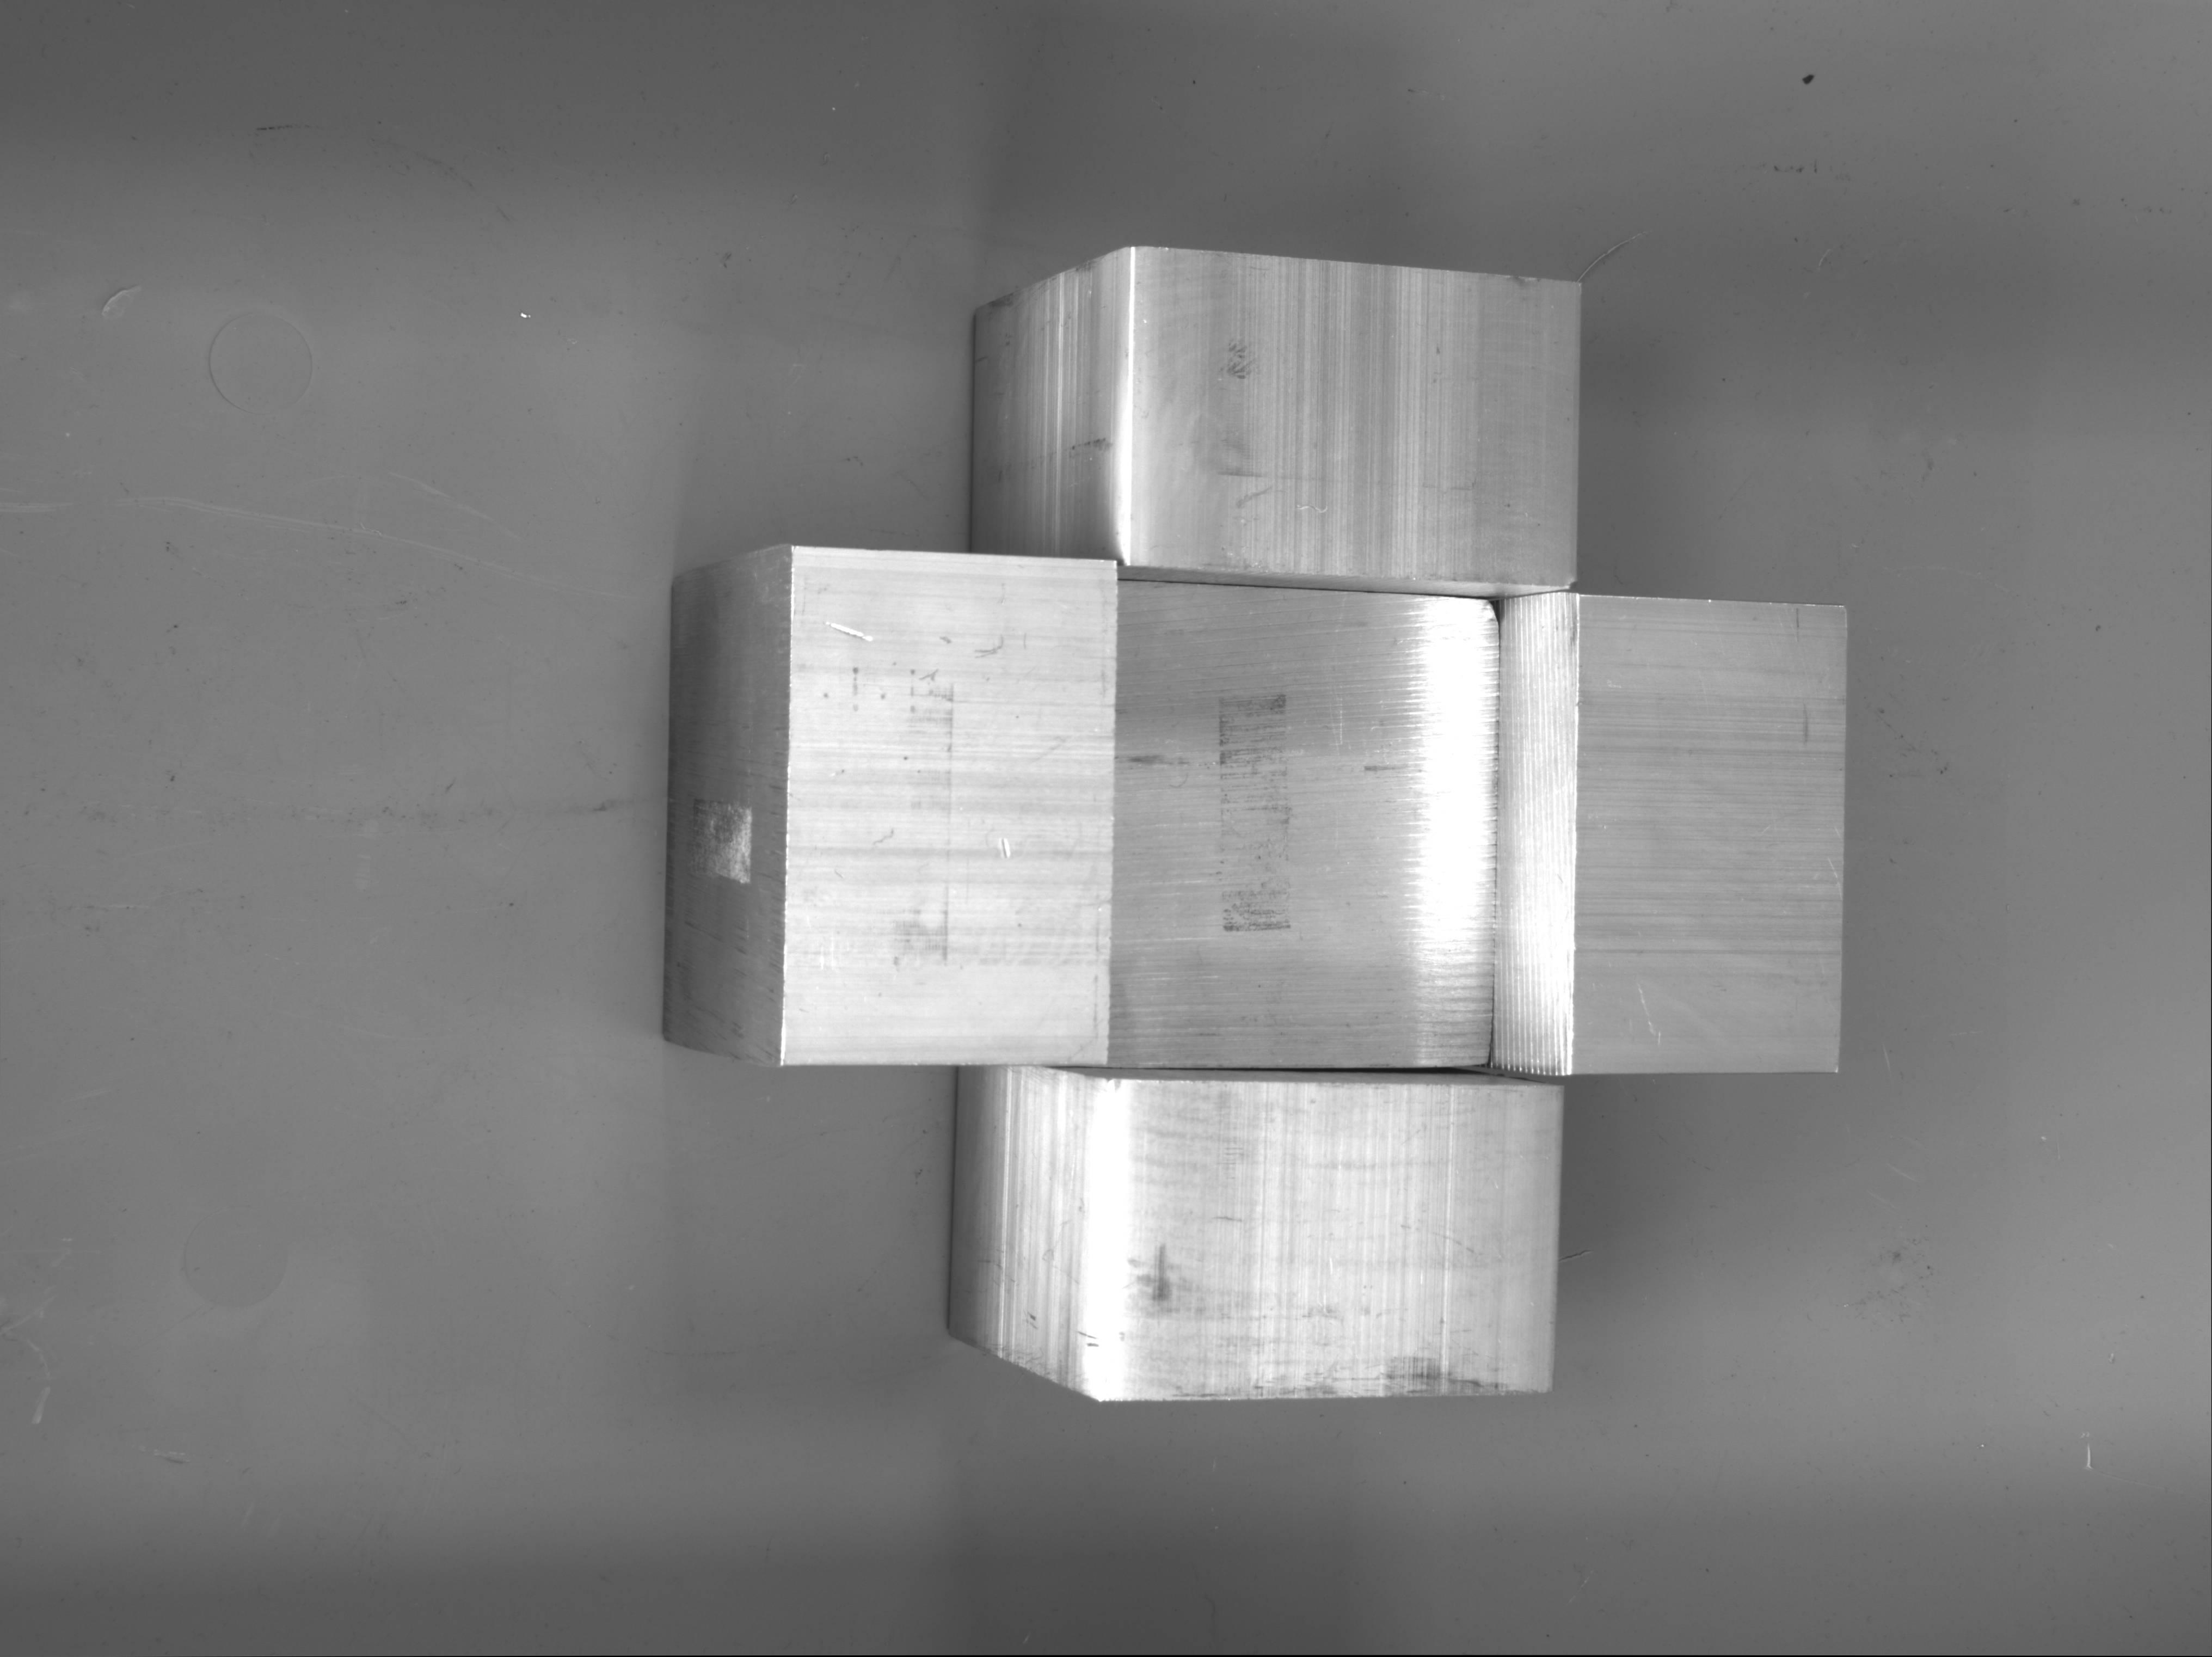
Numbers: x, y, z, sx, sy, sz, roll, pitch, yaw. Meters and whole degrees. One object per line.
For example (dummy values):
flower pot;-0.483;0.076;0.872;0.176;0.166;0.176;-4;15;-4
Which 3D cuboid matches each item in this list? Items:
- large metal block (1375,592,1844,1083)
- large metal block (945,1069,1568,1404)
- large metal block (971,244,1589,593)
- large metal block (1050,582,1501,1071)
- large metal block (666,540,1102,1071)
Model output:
large metal block;0.086;0.002;0.644;0.050;0.080;0.080;1;90;-20
large metal block;0.023;0.066;0.621;0.080;0.080;0.050;2;89;-20
large metal block;0.027;-0.065;0.622;0.080;0.080;0.050;1;90;-20
large metal block;0.021;0.000;0.635;0.080;0.050;0.080;1;90;-20
large metal block;-0.038;-0.003;0.599;0.050;0.080;0.080;1;90;-20
